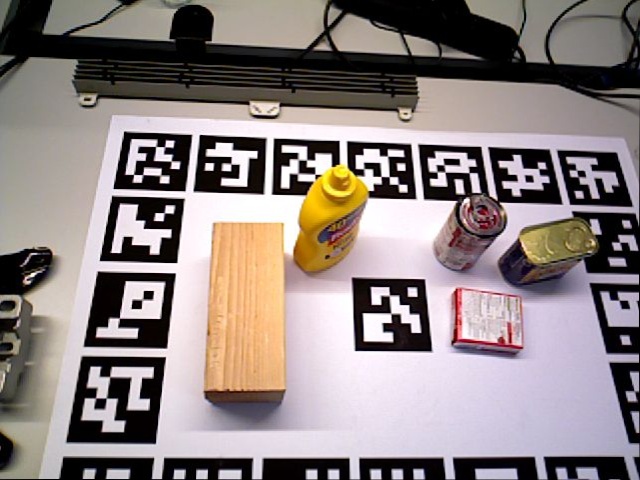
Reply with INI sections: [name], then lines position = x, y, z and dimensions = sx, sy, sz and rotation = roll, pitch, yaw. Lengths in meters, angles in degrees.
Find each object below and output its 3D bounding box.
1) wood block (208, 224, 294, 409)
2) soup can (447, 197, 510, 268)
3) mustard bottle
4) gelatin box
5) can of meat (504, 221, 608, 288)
[wood block]
position = -0.077, 0.086, 0.648
dimensions = 0.090, 0.092, 0.203
rotation = 3, 60, -6
[soup can]
position = 0.211, -0.013, 0.703
dimensions = 0.067, 0.104, 0.067
rotation = 2, 65, -4
[mustard bottle]
position = 0.022, -0.027, 0.659
dimensions = 0.095, 0.195, 0.058
rotation = -22, 67, -17
[gelatin box]
position = 0.230, 0.110, 0.691
dimensions = 0.089, 0.030, 0.072
rotation = 10, 66, 3
[can of meat]
position = 0.307, 0.018, 0.717
dimensions = 0.100, 0.085, 0.057
rotation = -10, 66, -13
